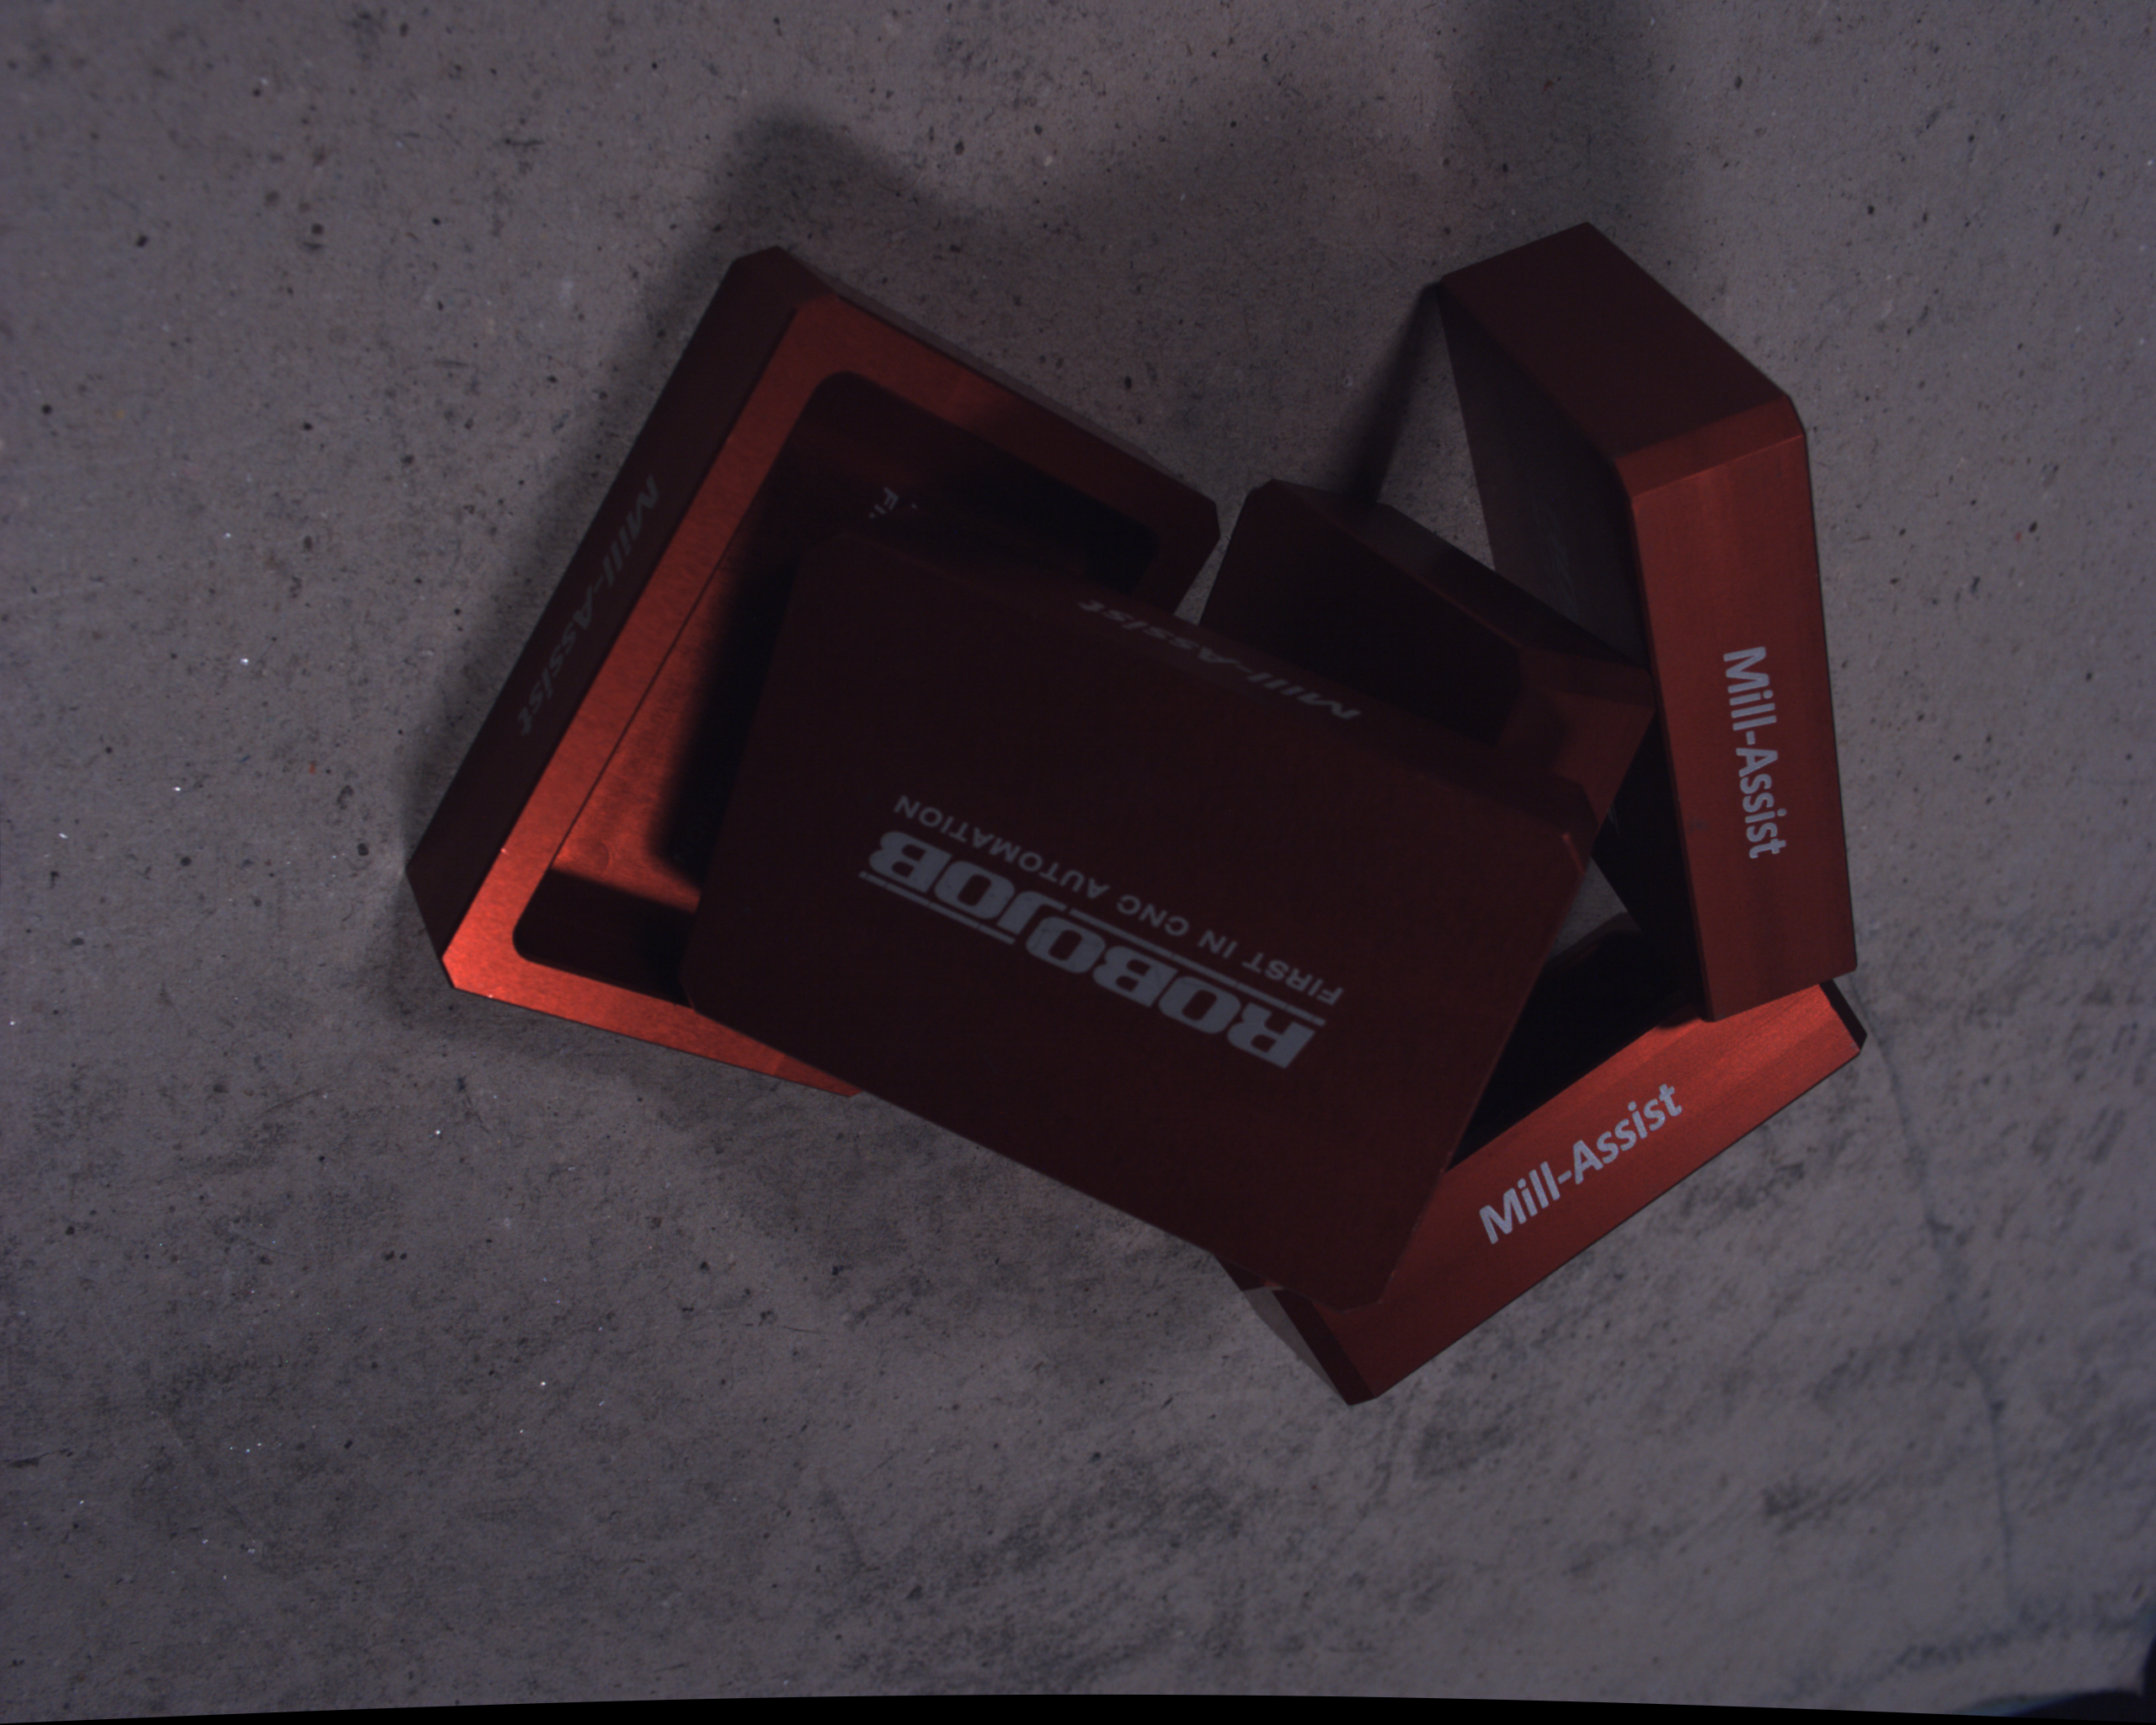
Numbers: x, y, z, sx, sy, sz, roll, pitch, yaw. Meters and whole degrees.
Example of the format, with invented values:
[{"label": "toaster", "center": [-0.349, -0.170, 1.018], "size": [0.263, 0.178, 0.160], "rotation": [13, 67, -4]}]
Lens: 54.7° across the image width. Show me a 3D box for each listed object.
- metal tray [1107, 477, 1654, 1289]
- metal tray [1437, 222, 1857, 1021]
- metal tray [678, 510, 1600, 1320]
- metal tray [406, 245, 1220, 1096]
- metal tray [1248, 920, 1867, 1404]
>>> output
[{"label": "metal tray", "center": [0.045, 0.004, 0.395], "size": [0.030, 0.090, 0.129], "rotation": [7, 116, -32]}, {"label": "metal tray", "center": [0.109, -0.044, 0.397], "size": [0.030, 0.090, 0.129], "rotation": [-21, 128, 1]}, {"label": "metal tray", "center": [0.007, 0.007, 0.345], "size": [0.130, 0.030, 0.089], "rotation": [24, 112, 9]}, {"label": "metal tray", "center": [-0.046, -0.028, 0.364], "size": [0.091, 0.030, 0.129], "rotation": [22, 107, -37]}, {"label": "metal tray", "center": [0.094, 0.059, 0.456], "size": [0.130, 0.090, 0.030], "rotation": [-33, 94, -7]}]
